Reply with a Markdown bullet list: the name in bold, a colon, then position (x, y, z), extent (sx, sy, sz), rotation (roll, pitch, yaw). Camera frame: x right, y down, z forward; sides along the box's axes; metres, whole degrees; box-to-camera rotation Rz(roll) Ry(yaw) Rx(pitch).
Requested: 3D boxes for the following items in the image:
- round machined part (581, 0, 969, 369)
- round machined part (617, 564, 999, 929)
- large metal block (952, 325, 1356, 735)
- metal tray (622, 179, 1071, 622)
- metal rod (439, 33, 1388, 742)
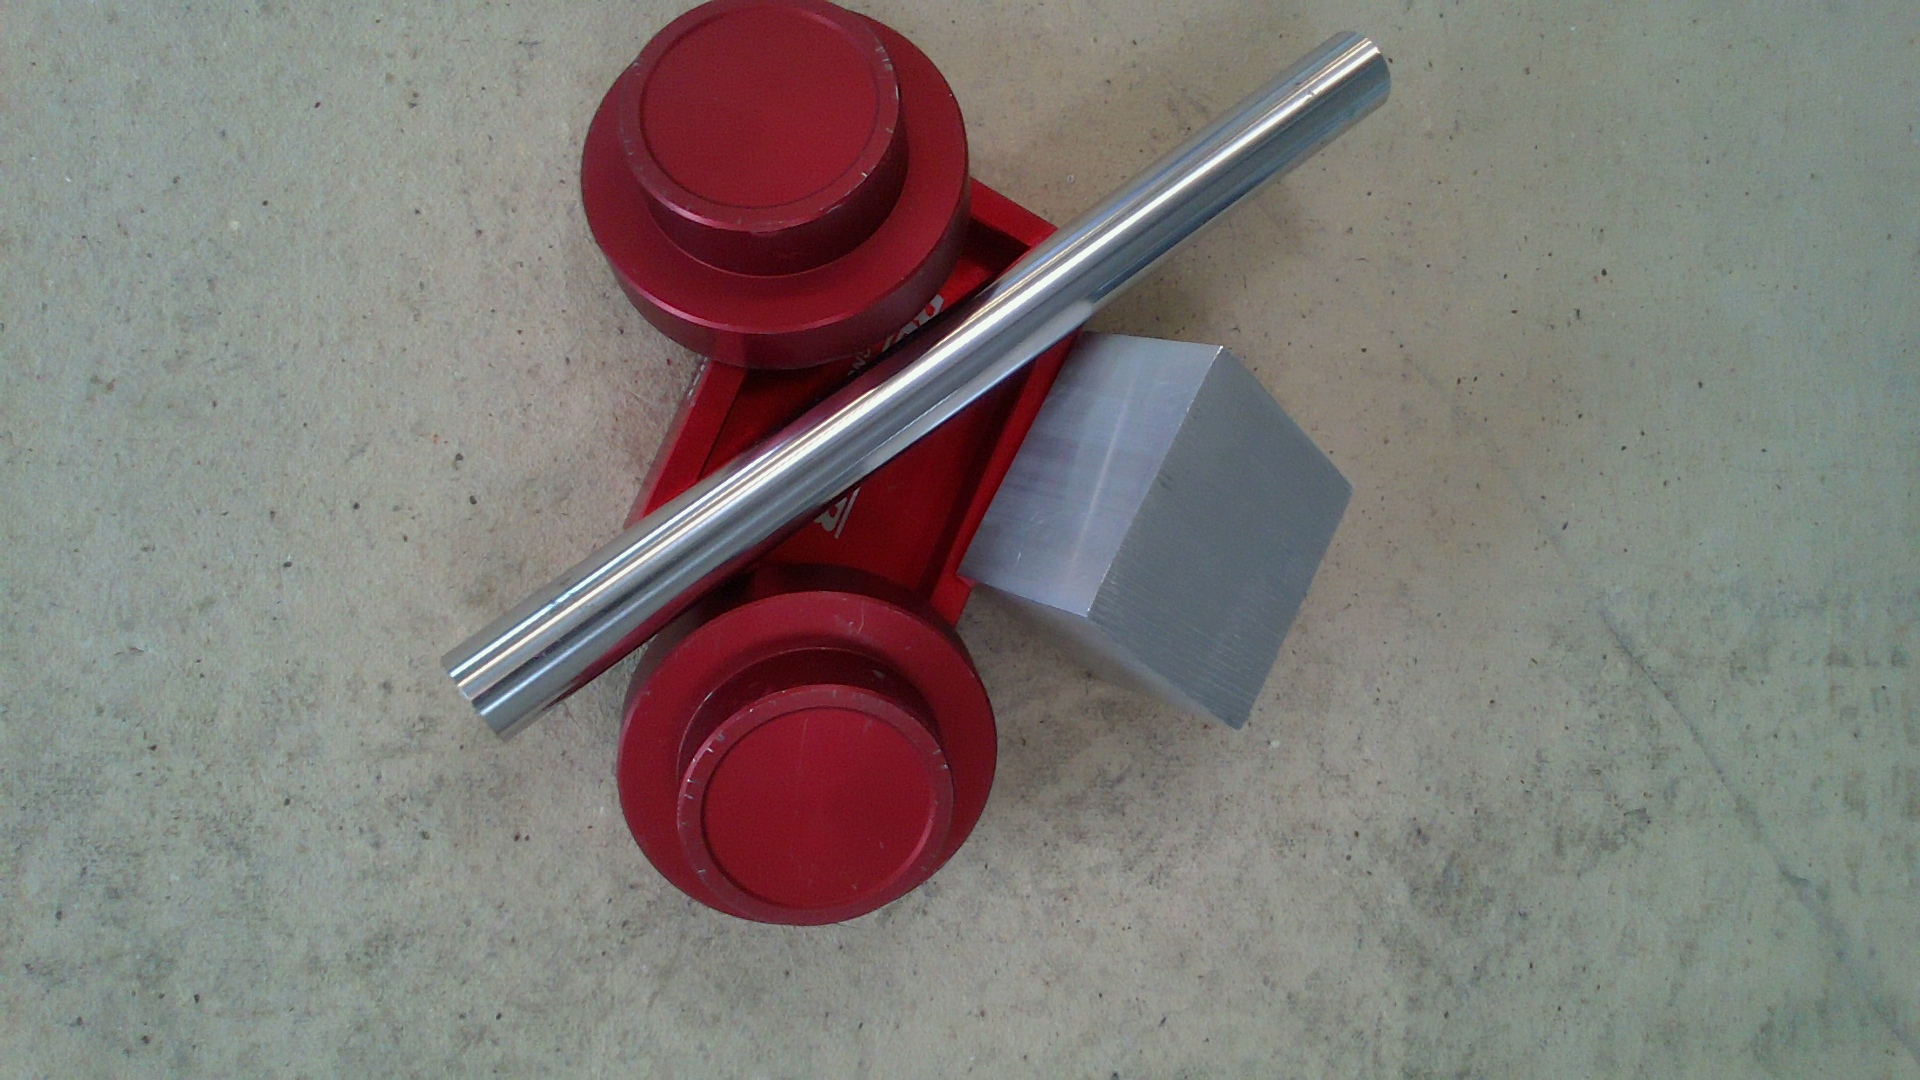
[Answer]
- **round machined part**: position (-0.047, -0.096, 0.346), extent (0.098, 0.042, 0.098), rotation (-1, 71, 2)
- **round machined part**: position (-0.038, 0.059, 0.353), extent (0.098, 0.042, 0.098), rotation (-4, 111, -11)
- **large metal block**: position (0.057, -0.003, 0.386), extent (0.080, 0.050, 0.080), rotation (36, 77, -41)
- **metal tray**: position (-0.025, -0.040, 0.382), extent (0.090, 0.030, 0.130), rotation (26, 81, -18)
- **metal rod**: position (0.001, -0.050, 0.363), extent (0.301, 0.025, 0.025), rotation (-37, 102, -16)
